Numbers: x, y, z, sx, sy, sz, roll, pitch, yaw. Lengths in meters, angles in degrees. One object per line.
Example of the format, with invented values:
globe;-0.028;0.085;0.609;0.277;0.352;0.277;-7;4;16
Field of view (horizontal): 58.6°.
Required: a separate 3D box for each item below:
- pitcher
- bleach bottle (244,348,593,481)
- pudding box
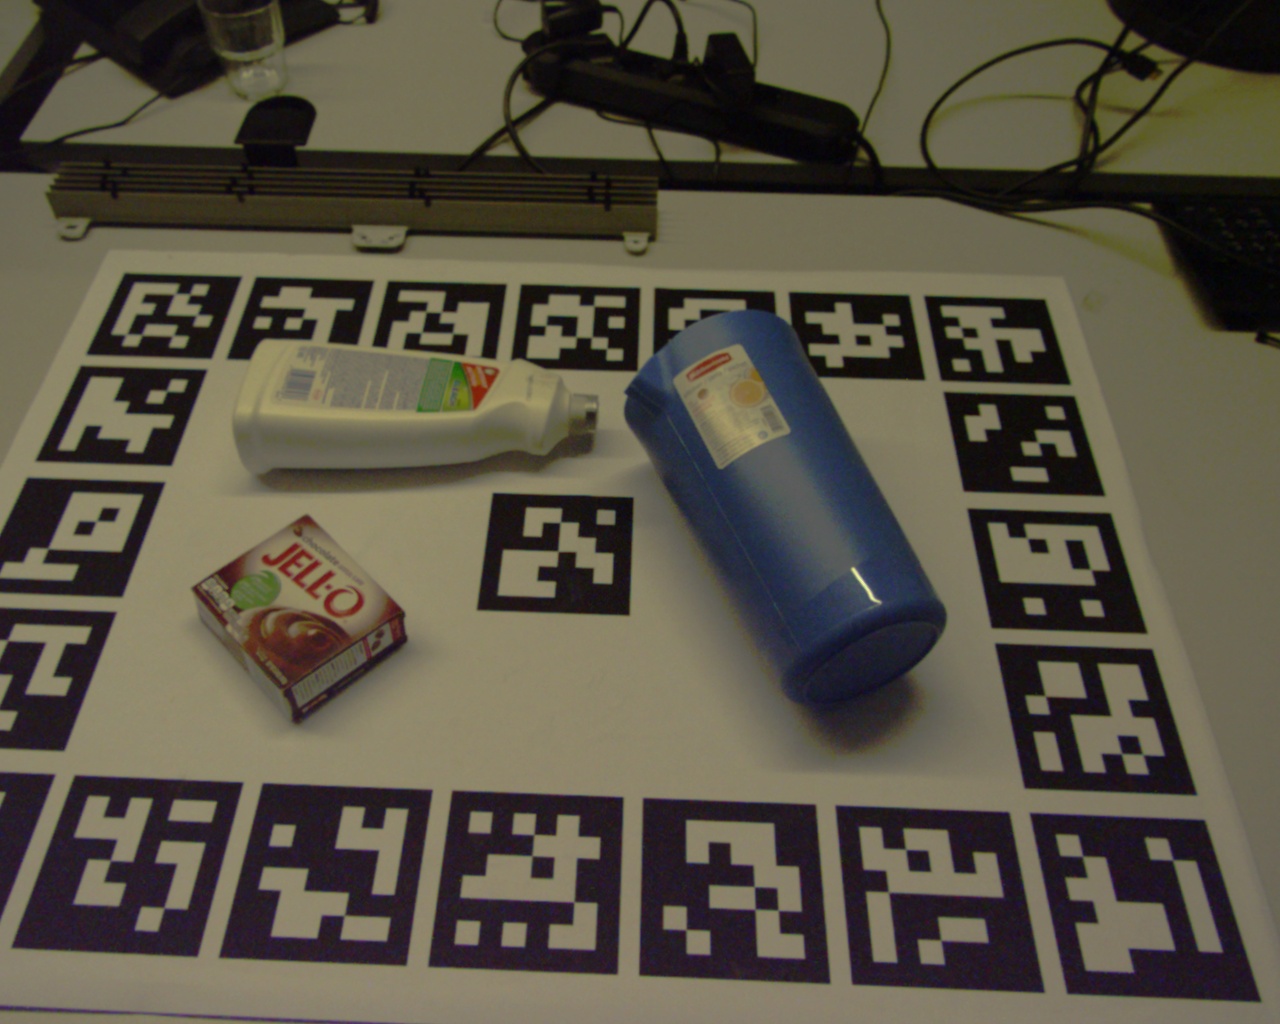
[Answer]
pitcher;0.098;0.010;0.779;0.186;0.134;0.244;5;48;-42
bleach bottle;-0.161;-0.074;0.861;0.250;0.068;0.103;0;57;-3
pudding box;-0.224;0.066;0.761;0.089;0.038;0.115;-33;61;-30
